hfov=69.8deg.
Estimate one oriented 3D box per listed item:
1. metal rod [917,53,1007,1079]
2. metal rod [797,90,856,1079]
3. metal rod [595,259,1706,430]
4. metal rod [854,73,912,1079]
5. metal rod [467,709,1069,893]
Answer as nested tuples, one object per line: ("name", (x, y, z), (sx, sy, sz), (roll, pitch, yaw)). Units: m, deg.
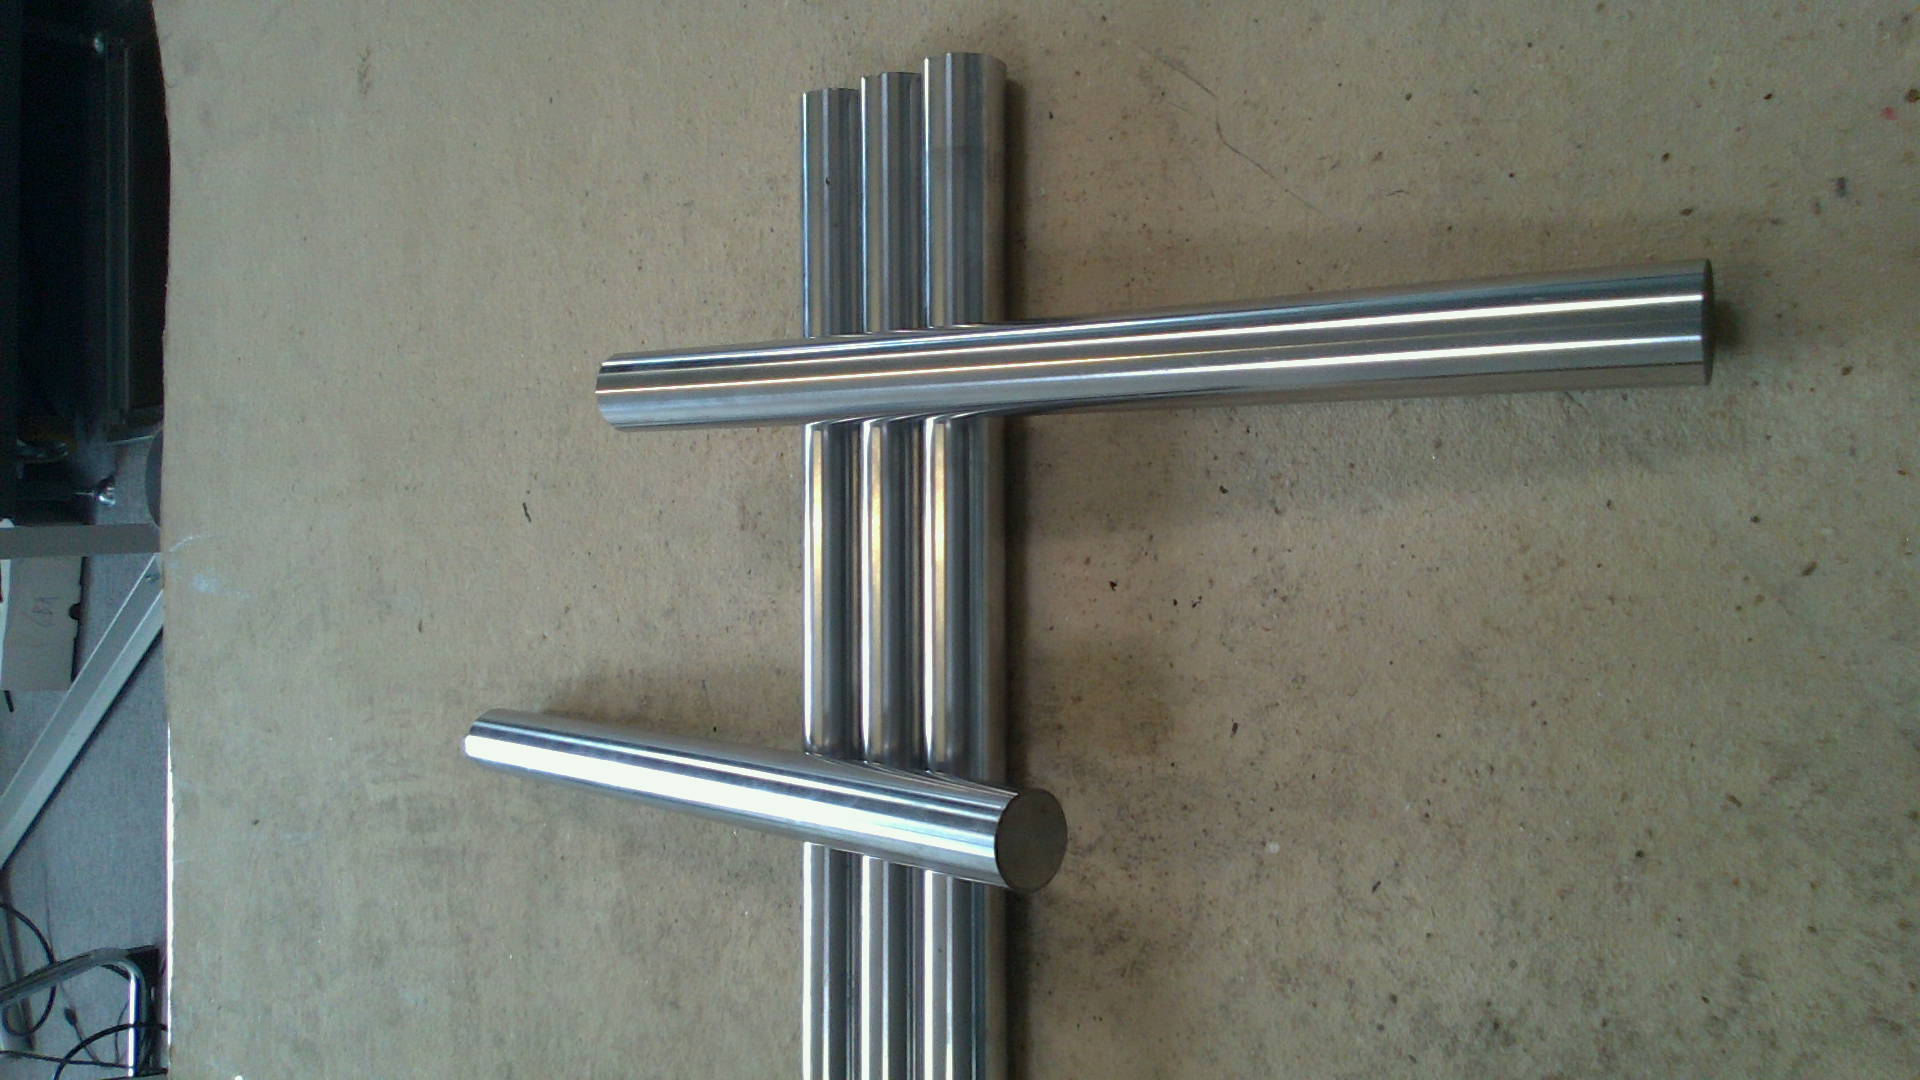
("metal rod", (0.001, 0.015, 0.394), (0.025, 0.025, 0.300), (0, 90, 40))
("metal rod", (-0.037, 0.015, 0.426), (0.025, 0.025, 0.300), (0, 90, 40))
("metal rod", (0.021, -0.045, 0.352), (0.299, 0.025, 0.025), (1, 91, 32))
("metal rod", (-0.019, 0.015, 0.410), (0.025, 0.025, 0.300), (0, 90, 40))
("metal rod", (-0.084, 0.075, 0.440), (0.299, 0.025, 0.025), (-2, 89, 47))
